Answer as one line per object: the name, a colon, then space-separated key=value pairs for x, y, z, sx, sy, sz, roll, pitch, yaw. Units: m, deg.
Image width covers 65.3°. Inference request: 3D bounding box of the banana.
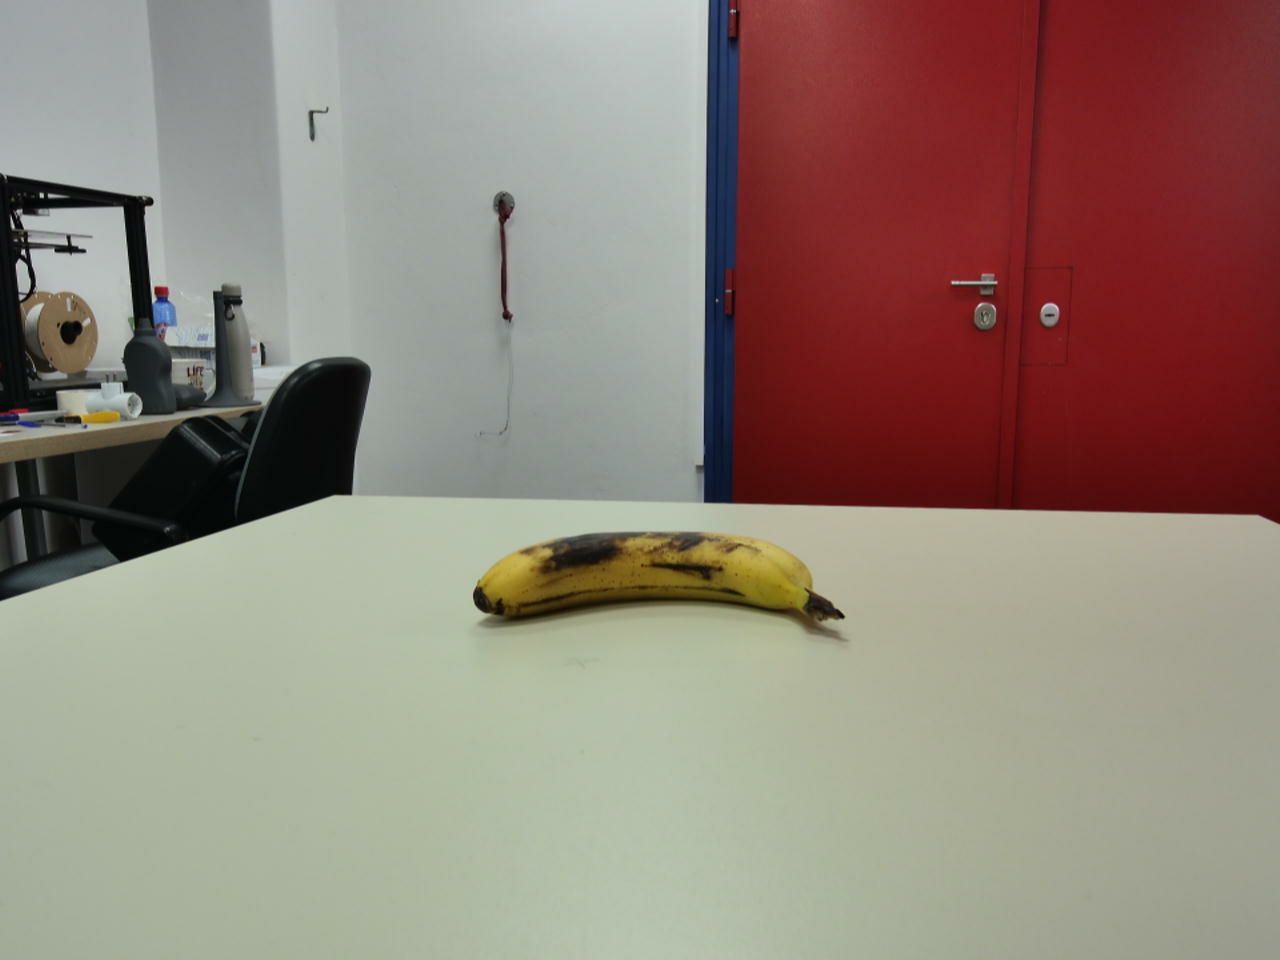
banana: x=0.012 y=0.052 z=0.540 sx=0.187 sy=0.039 sz=0.094 roll=1 pitch=6 yaw=10
